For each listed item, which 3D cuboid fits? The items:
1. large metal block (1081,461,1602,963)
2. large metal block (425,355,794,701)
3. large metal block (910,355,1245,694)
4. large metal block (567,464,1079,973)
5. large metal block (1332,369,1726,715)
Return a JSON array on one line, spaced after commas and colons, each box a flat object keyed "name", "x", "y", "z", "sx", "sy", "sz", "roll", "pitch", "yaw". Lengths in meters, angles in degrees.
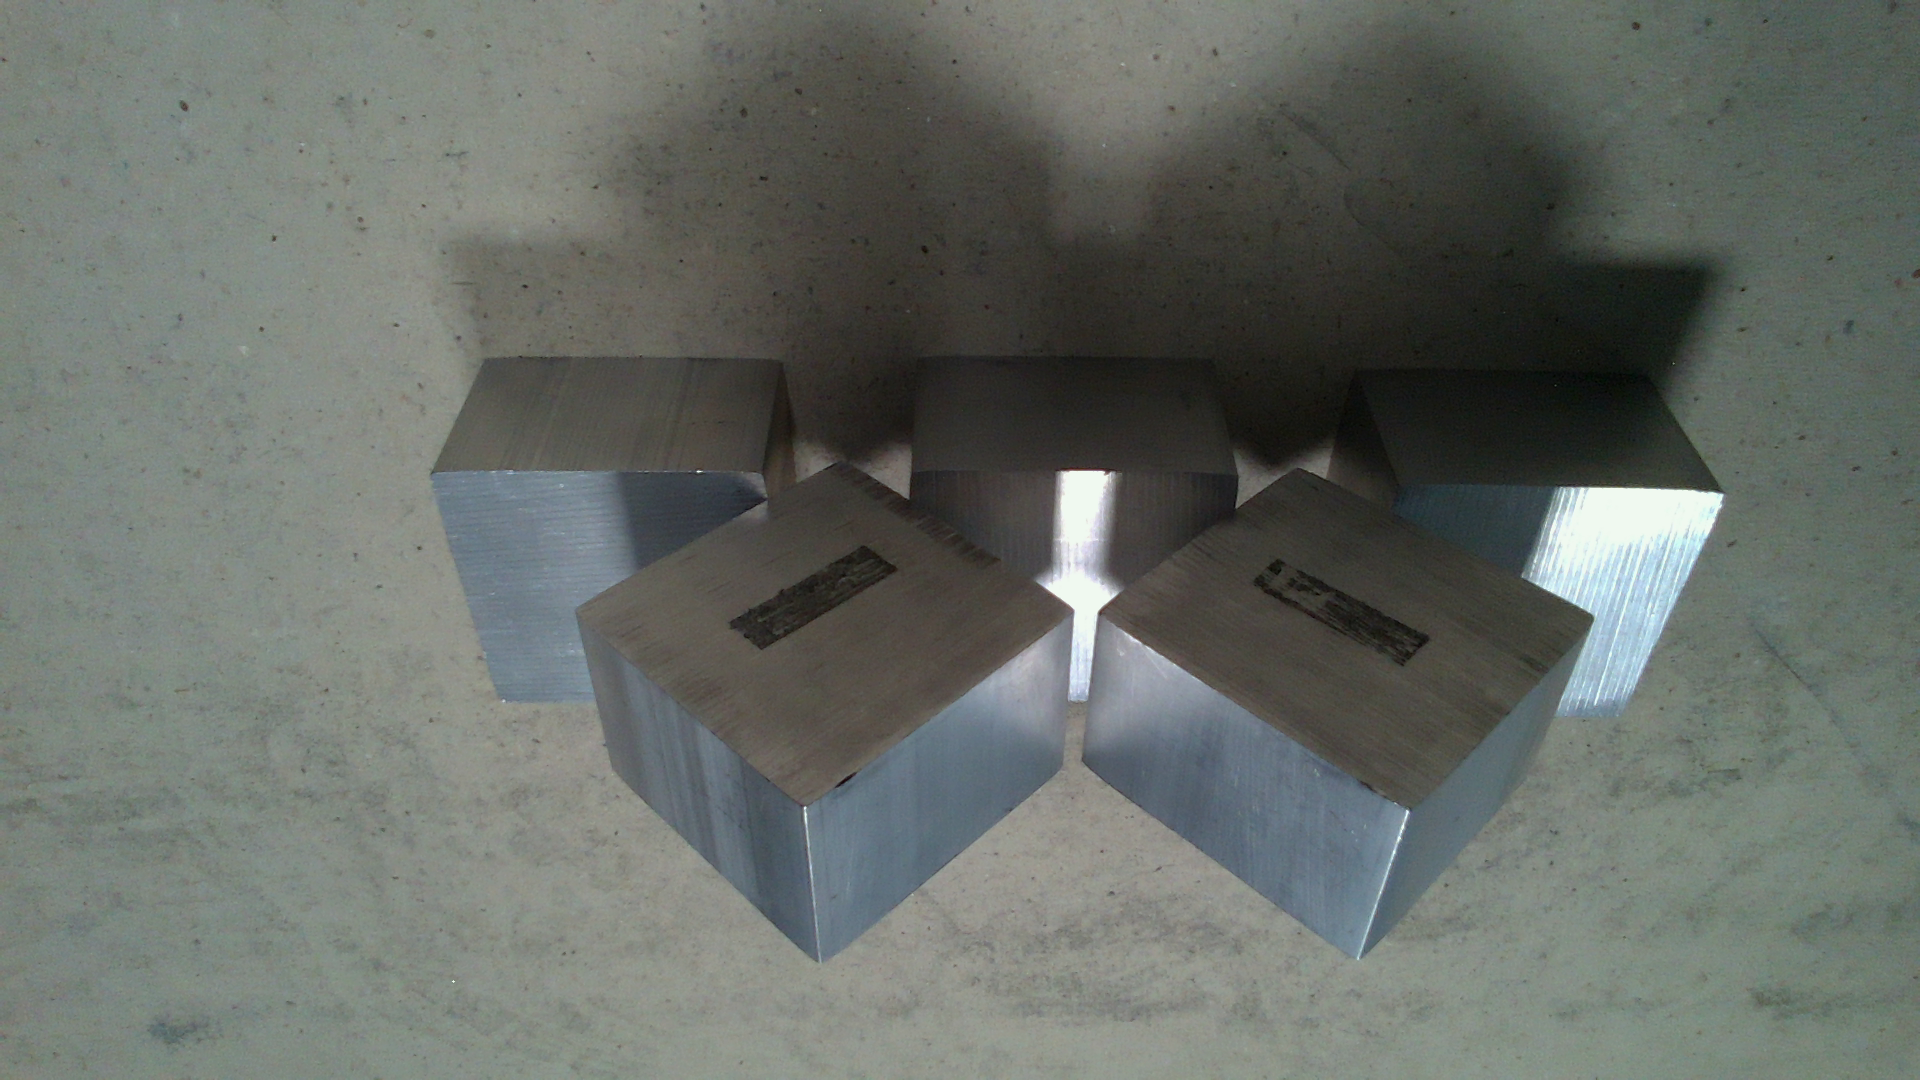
[{"name": "large metal block", "x": 0.087, "y": 0.035, "z": 0.322, "sx": 0.080, "sy": 0.080, "sz": 0.050, "roll": 33, "pitch": 139, "yaw": 32}, {"name": "large metal block", "x": -0.087, "y": -0.002, "z": 0.372, "sx": 0.080, "sy": 0.050, "sz": 0.080, "roll": 0, "pitch": 130, "yaw": 0}, {"name": "large metal block", "x": 0.028, "y": -0.002, "z": 0.373, "sx": 0.080, "sy": 0.050, "sz": 0.080, "roll": 0, "pitch": 130, "yaw": -1}, {"name": "large metal block", "x": -0.030, "y": 0.037, "z": 0.320, "sx": 0.080, "sy": 0.080, "sz": 0.050, "roll": -33, "pitch": 140, "yaw": -32}, {"name": "large metal block", "x": 0.145, "y": 0.001, "z": 0.377, "sx": 0.080, "sy": 0.050, "sz": 0.080, "roll": 1, "pitch": 130, "yaw": -1}]
